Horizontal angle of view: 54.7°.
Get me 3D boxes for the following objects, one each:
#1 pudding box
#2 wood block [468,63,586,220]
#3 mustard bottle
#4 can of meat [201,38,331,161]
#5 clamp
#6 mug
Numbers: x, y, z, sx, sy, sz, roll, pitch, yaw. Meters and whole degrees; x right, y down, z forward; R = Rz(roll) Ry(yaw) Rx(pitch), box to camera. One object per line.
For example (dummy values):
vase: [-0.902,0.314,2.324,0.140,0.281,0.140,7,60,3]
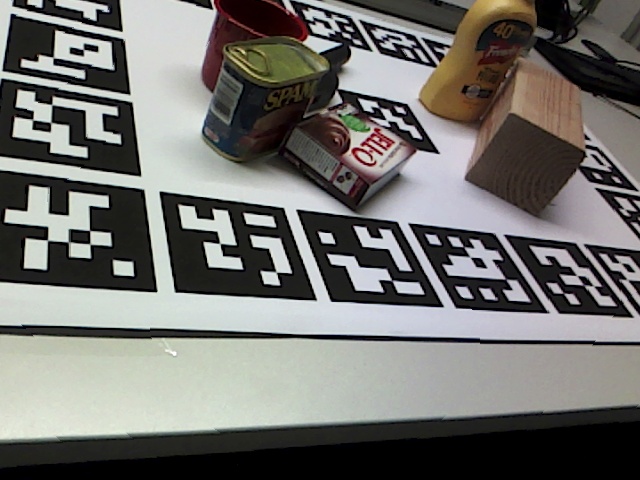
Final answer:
pudding box: [0.032,-0.081,0.589,0.090,0.038,0.113,38,38,12]
wood block: [0.246,-0.125,0.730,0.090,0.091,0.206,28,36,3]
mustard bottle: [0.202,-0.241,0.745,0.095,0.191,0.059,1,47,-30]
can of meat: [-0.050,-0.123,0.543,0.058,0.084,0.101,45,41,18]
clamp: [-0.018,-0.199,0.701,0.121,0.036,0.165,20,41,-13]
mug: [-0.079,-0.180,0.636,0.093,0.081,0.117,21,40,-10]
